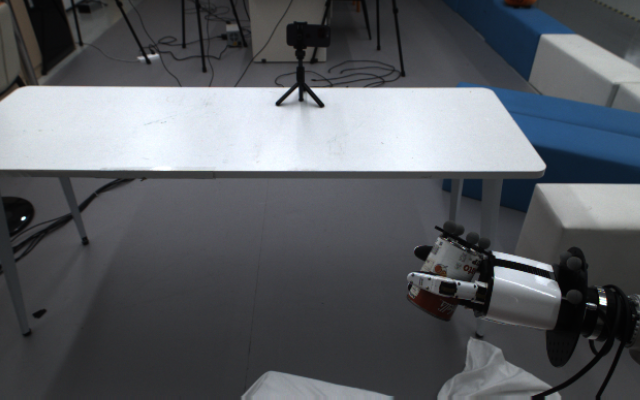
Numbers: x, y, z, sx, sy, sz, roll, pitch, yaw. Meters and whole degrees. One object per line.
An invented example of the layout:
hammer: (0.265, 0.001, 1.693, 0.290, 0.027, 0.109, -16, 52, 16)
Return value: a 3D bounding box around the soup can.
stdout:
soup can: (0.175, 0.106, 0.670, 0.067, 0.101, 0.067, 26, 5, -3)
